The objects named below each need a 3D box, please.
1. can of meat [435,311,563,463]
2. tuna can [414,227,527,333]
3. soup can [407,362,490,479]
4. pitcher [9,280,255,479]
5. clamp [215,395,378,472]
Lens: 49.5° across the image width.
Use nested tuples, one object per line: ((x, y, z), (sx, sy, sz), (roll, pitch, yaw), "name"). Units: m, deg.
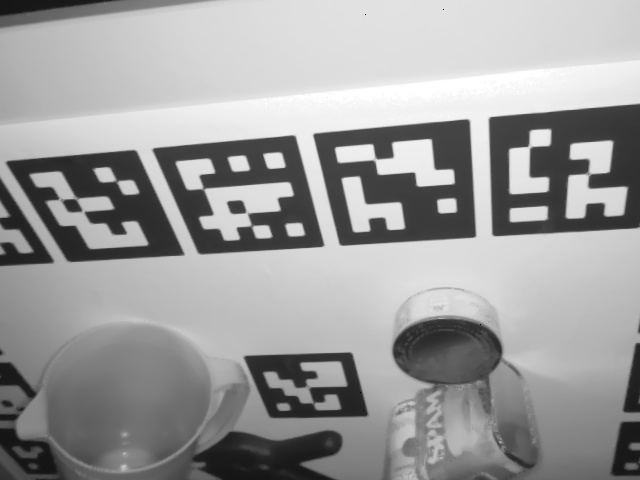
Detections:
((0.146, 0.116, 0.566), (0.058, 0.103, 0.082), (41, 120, -22), "can of meat")
((0.118, 0.032, 0.548), (0.085, 0.034, 0.085), (3, 128, 5), "tuna can")
((0.112, 0.168, 0.619), (0.068, 0.103, 0.067), (2, 127, 4), "soup can")
((-0.163, 0.156, 0.617), (0.191, 0.133, 0.239), (-2, 140, -19), "pitcher")
((-0.027, 0.196, 0.713), (0.164, 0.037, 0.121), (0, 133, 12), "clamp")
